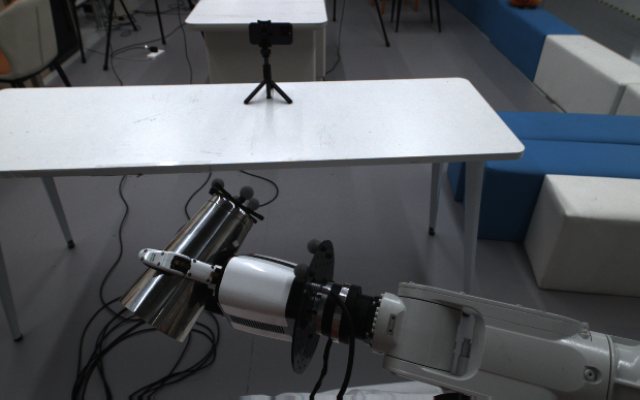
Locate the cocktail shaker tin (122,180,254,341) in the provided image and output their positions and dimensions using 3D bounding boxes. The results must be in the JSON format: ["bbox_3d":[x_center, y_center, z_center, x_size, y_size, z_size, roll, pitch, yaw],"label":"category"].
[{"bbox_3d":[-0.160,0.077,0.612,0.093,0.093,0.170,24,70,29],"label":"cocktail shaker tin"}]
